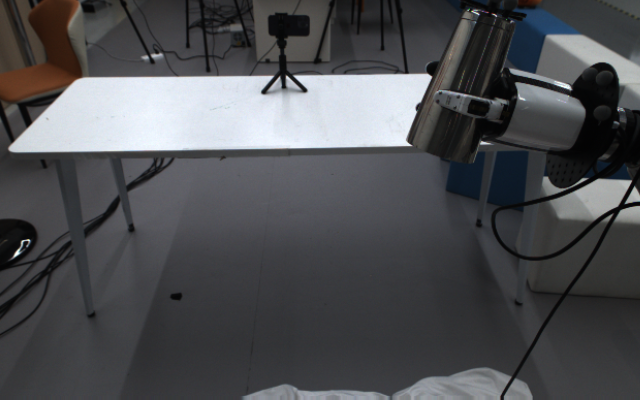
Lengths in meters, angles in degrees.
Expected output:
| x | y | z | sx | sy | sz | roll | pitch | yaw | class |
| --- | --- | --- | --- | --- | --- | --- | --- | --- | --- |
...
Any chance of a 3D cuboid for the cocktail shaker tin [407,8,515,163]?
| x | y | z | sx | sy | sz | roll | pitch | yaw | class |
| --- | --- | --- | --- | --- | --- | --- | --- | --- | --- |
| 0.181 | -0.143 | 0.606 | 0.093 | 0.170 | 0.093 | 14 | 19 | -5 | cocktail shaker tin |
